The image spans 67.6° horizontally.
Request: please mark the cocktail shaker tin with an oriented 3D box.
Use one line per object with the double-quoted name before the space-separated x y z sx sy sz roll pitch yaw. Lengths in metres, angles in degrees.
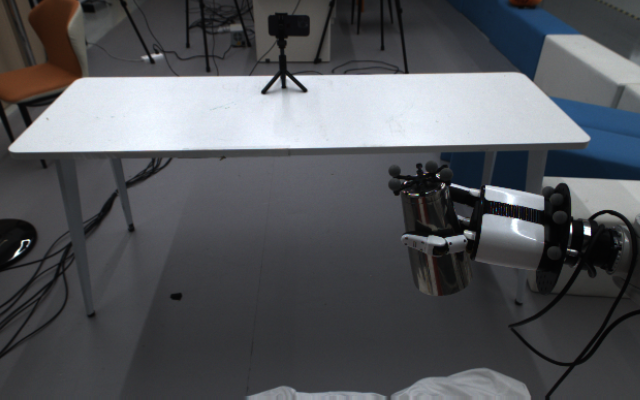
"cocktail shaker tin" 0.168 0.046 0.718 0.093 0.170 0.093 -15 29 8
